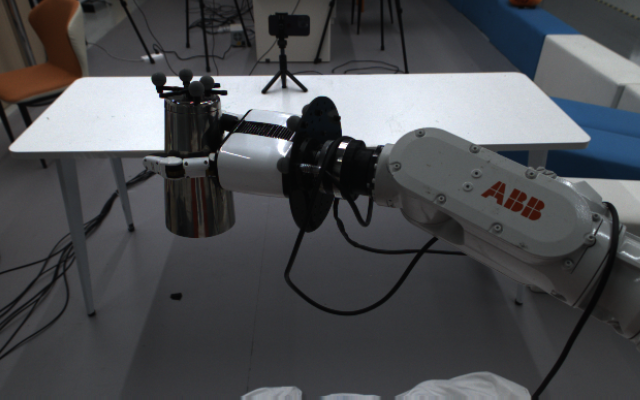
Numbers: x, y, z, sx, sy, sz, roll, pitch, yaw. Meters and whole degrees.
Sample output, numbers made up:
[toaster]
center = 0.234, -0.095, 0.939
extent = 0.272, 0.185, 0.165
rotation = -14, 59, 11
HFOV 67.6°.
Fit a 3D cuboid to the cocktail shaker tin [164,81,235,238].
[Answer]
[cocktail shaker tin]
center = -0.157, -0.047, 0.619
extent = 0.093, 0.170, 0.093
rotation = 2, 26, -1
